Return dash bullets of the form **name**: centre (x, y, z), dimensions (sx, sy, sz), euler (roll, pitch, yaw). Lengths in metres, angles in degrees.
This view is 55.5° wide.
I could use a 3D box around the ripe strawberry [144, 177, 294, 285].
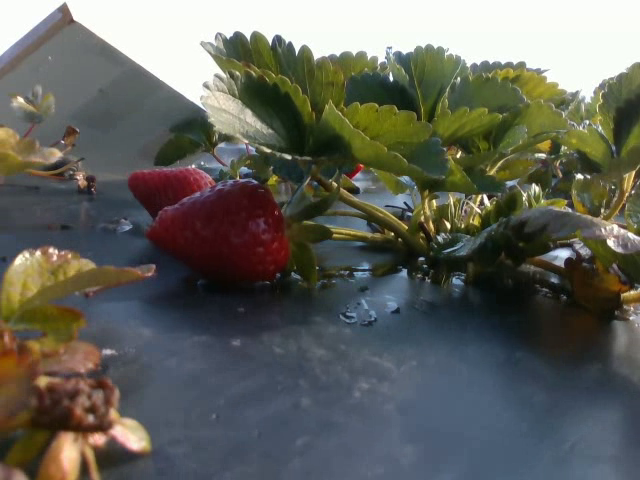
- **ripe strawberry**: centre (-0.044, -0.004, 0.245), dimensions (0.064, 0.050, 0.049), euler (-14, -24, -34)
